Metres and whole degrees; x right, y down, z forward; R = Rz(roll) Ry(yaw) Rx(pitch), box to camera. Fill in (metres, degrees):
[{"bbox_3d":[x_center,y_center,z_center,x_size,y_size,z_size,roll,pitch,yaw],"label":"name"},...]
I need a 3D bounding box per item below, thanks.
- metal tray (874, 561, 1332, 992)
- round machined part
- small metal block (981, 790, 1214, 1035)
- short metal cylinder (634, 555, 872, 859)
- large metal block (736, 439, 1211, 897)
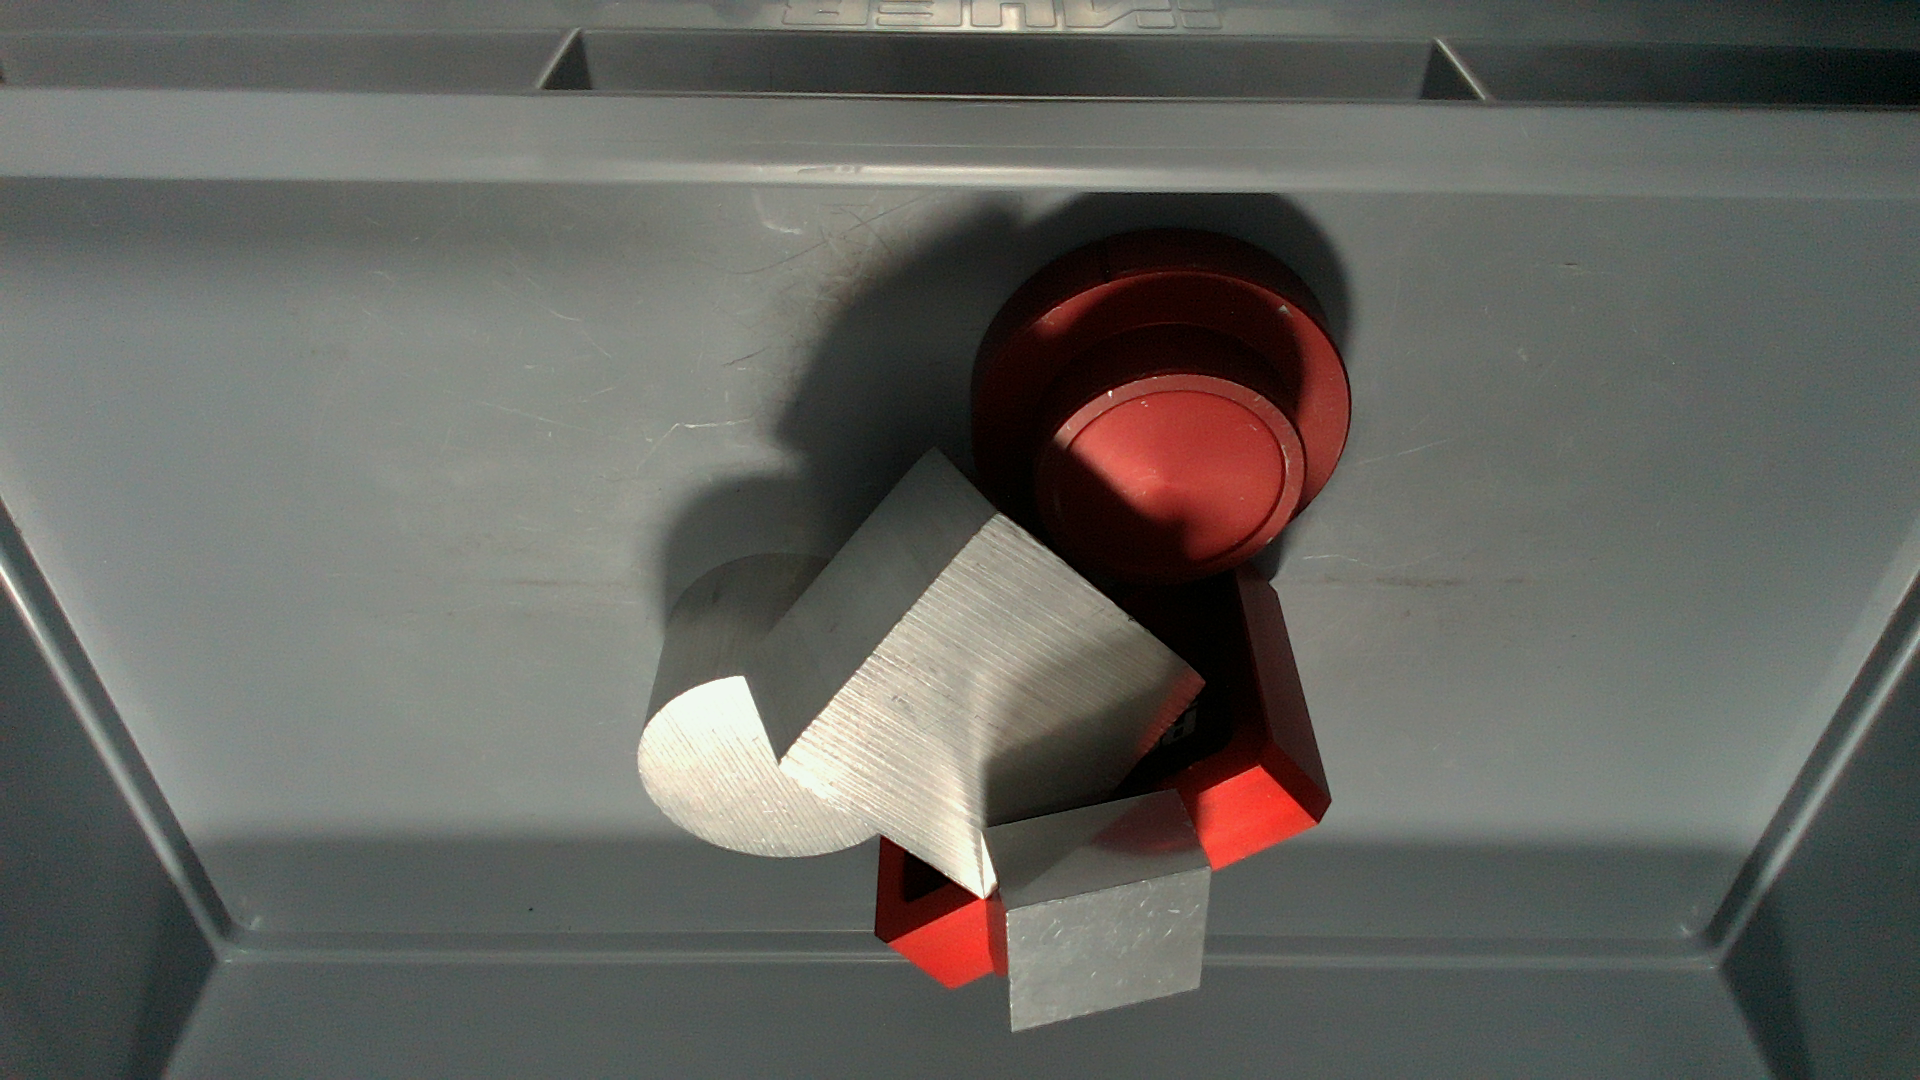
[{"bbox_3d":[0.036,0.064,0.400,0.130,0.090,0.030,-31,123,23],"label":"metal tray"},{"bbox_3d":[0.052,-0.027,0.355,0.098,0.042,0.098,0,130,0],"label":"round machined part"},{"bbox_3d":[0.033,0.093,0.343,0.050,0.025,0.050,-10,130,-8],"label":"small metal block"},{"bbox_3d":[-0.053,0.051,0.415,0.080,0.050,0.080,0,130,0],"label":"short metal cylinder"},{"bbox_3d":[0.002,0.035,0.356,0.080,0.050,0.080,39,96,-28],"label":"large metal block"}]
